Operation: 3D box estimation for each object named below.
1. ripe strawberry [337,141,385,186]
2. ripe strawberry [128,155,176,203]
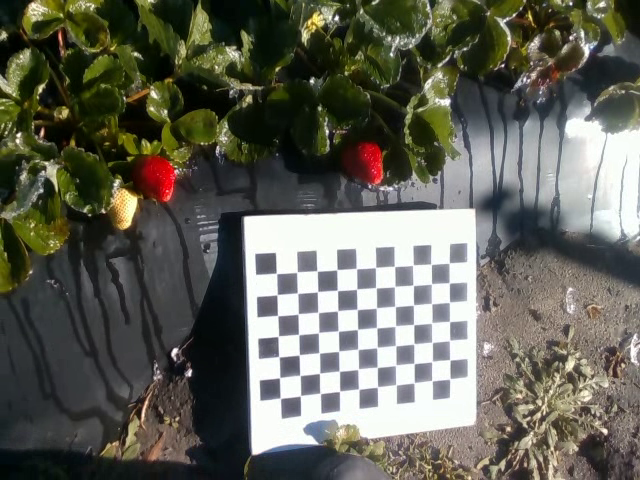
[{"bbox_3d":[0.054,-0.086,0.682,0.048,0.061,0.044,-11,-25,-17],"label":"ripe strawberry"},{"bbox_3d":[-0.164,-0.057,0.621,0.042,0.061,0.046,-19,-32,-15],"label":"ripe strawberry"}]
